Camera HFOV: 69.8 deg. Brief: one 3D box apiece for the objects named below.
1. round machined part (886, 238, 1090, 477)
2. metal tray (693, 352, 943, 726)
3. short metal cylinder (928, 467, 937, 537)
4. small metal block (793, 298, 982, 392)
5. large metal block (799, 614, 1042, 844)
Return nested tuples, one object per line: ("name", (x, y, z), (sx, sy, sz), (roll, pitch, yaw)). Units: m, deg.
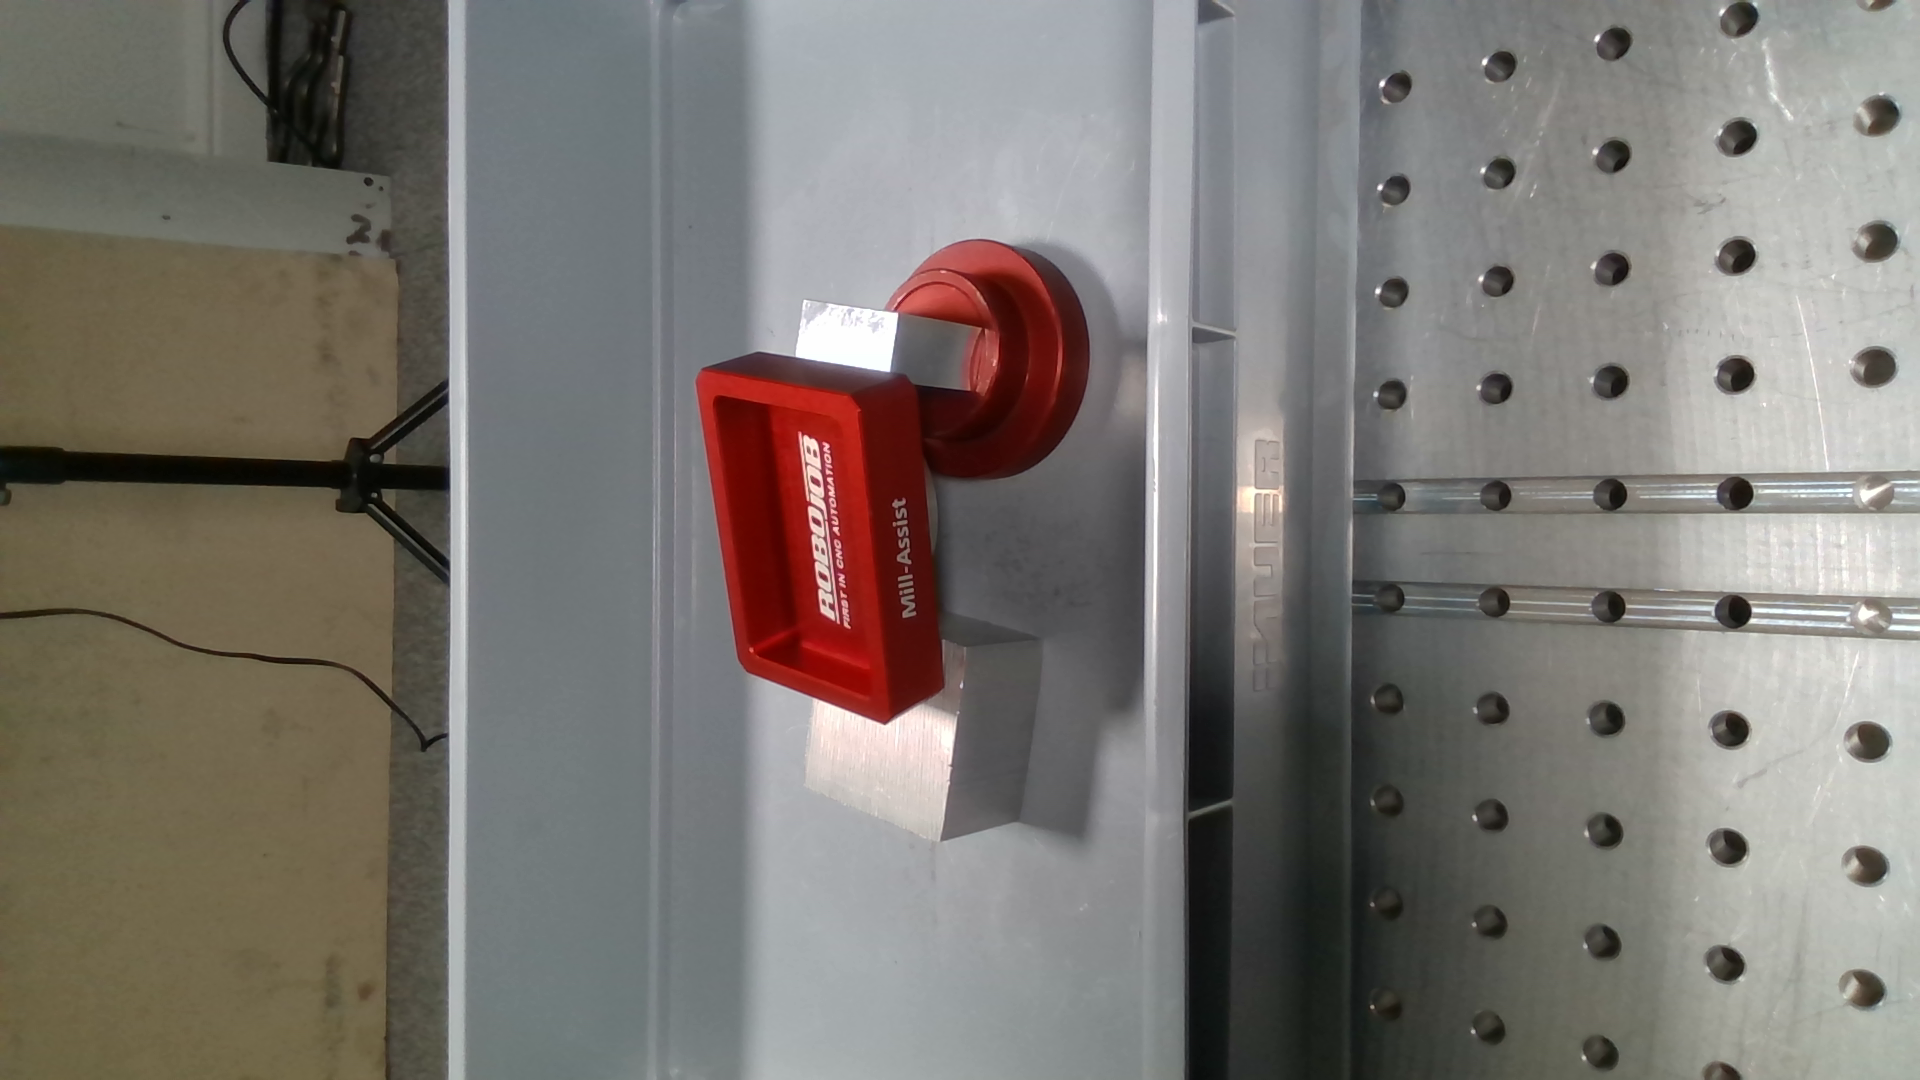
("round machined part", (0.002, -0.075, 0.567), (0.098, 0.042, 0.098), (0, 91, 40))
("metal tray", (-0.054, -0.002, 0.531), (0.090, 0.030, 0.130), (14, 119, 39))
("short metal cylinder", (-0.054, -0.014, 0.594), (0.080, 0.050, 0.080), (23, 120, 48))
("small metal block", (-0.028, -0.075, 0.532), (0.050, 0.050, 0.025), (16, 100, 39))
("large metal block", (-0.017, 0.073, 0.578), (0.080, 0.050, 0.080), (13, 99, 39))
